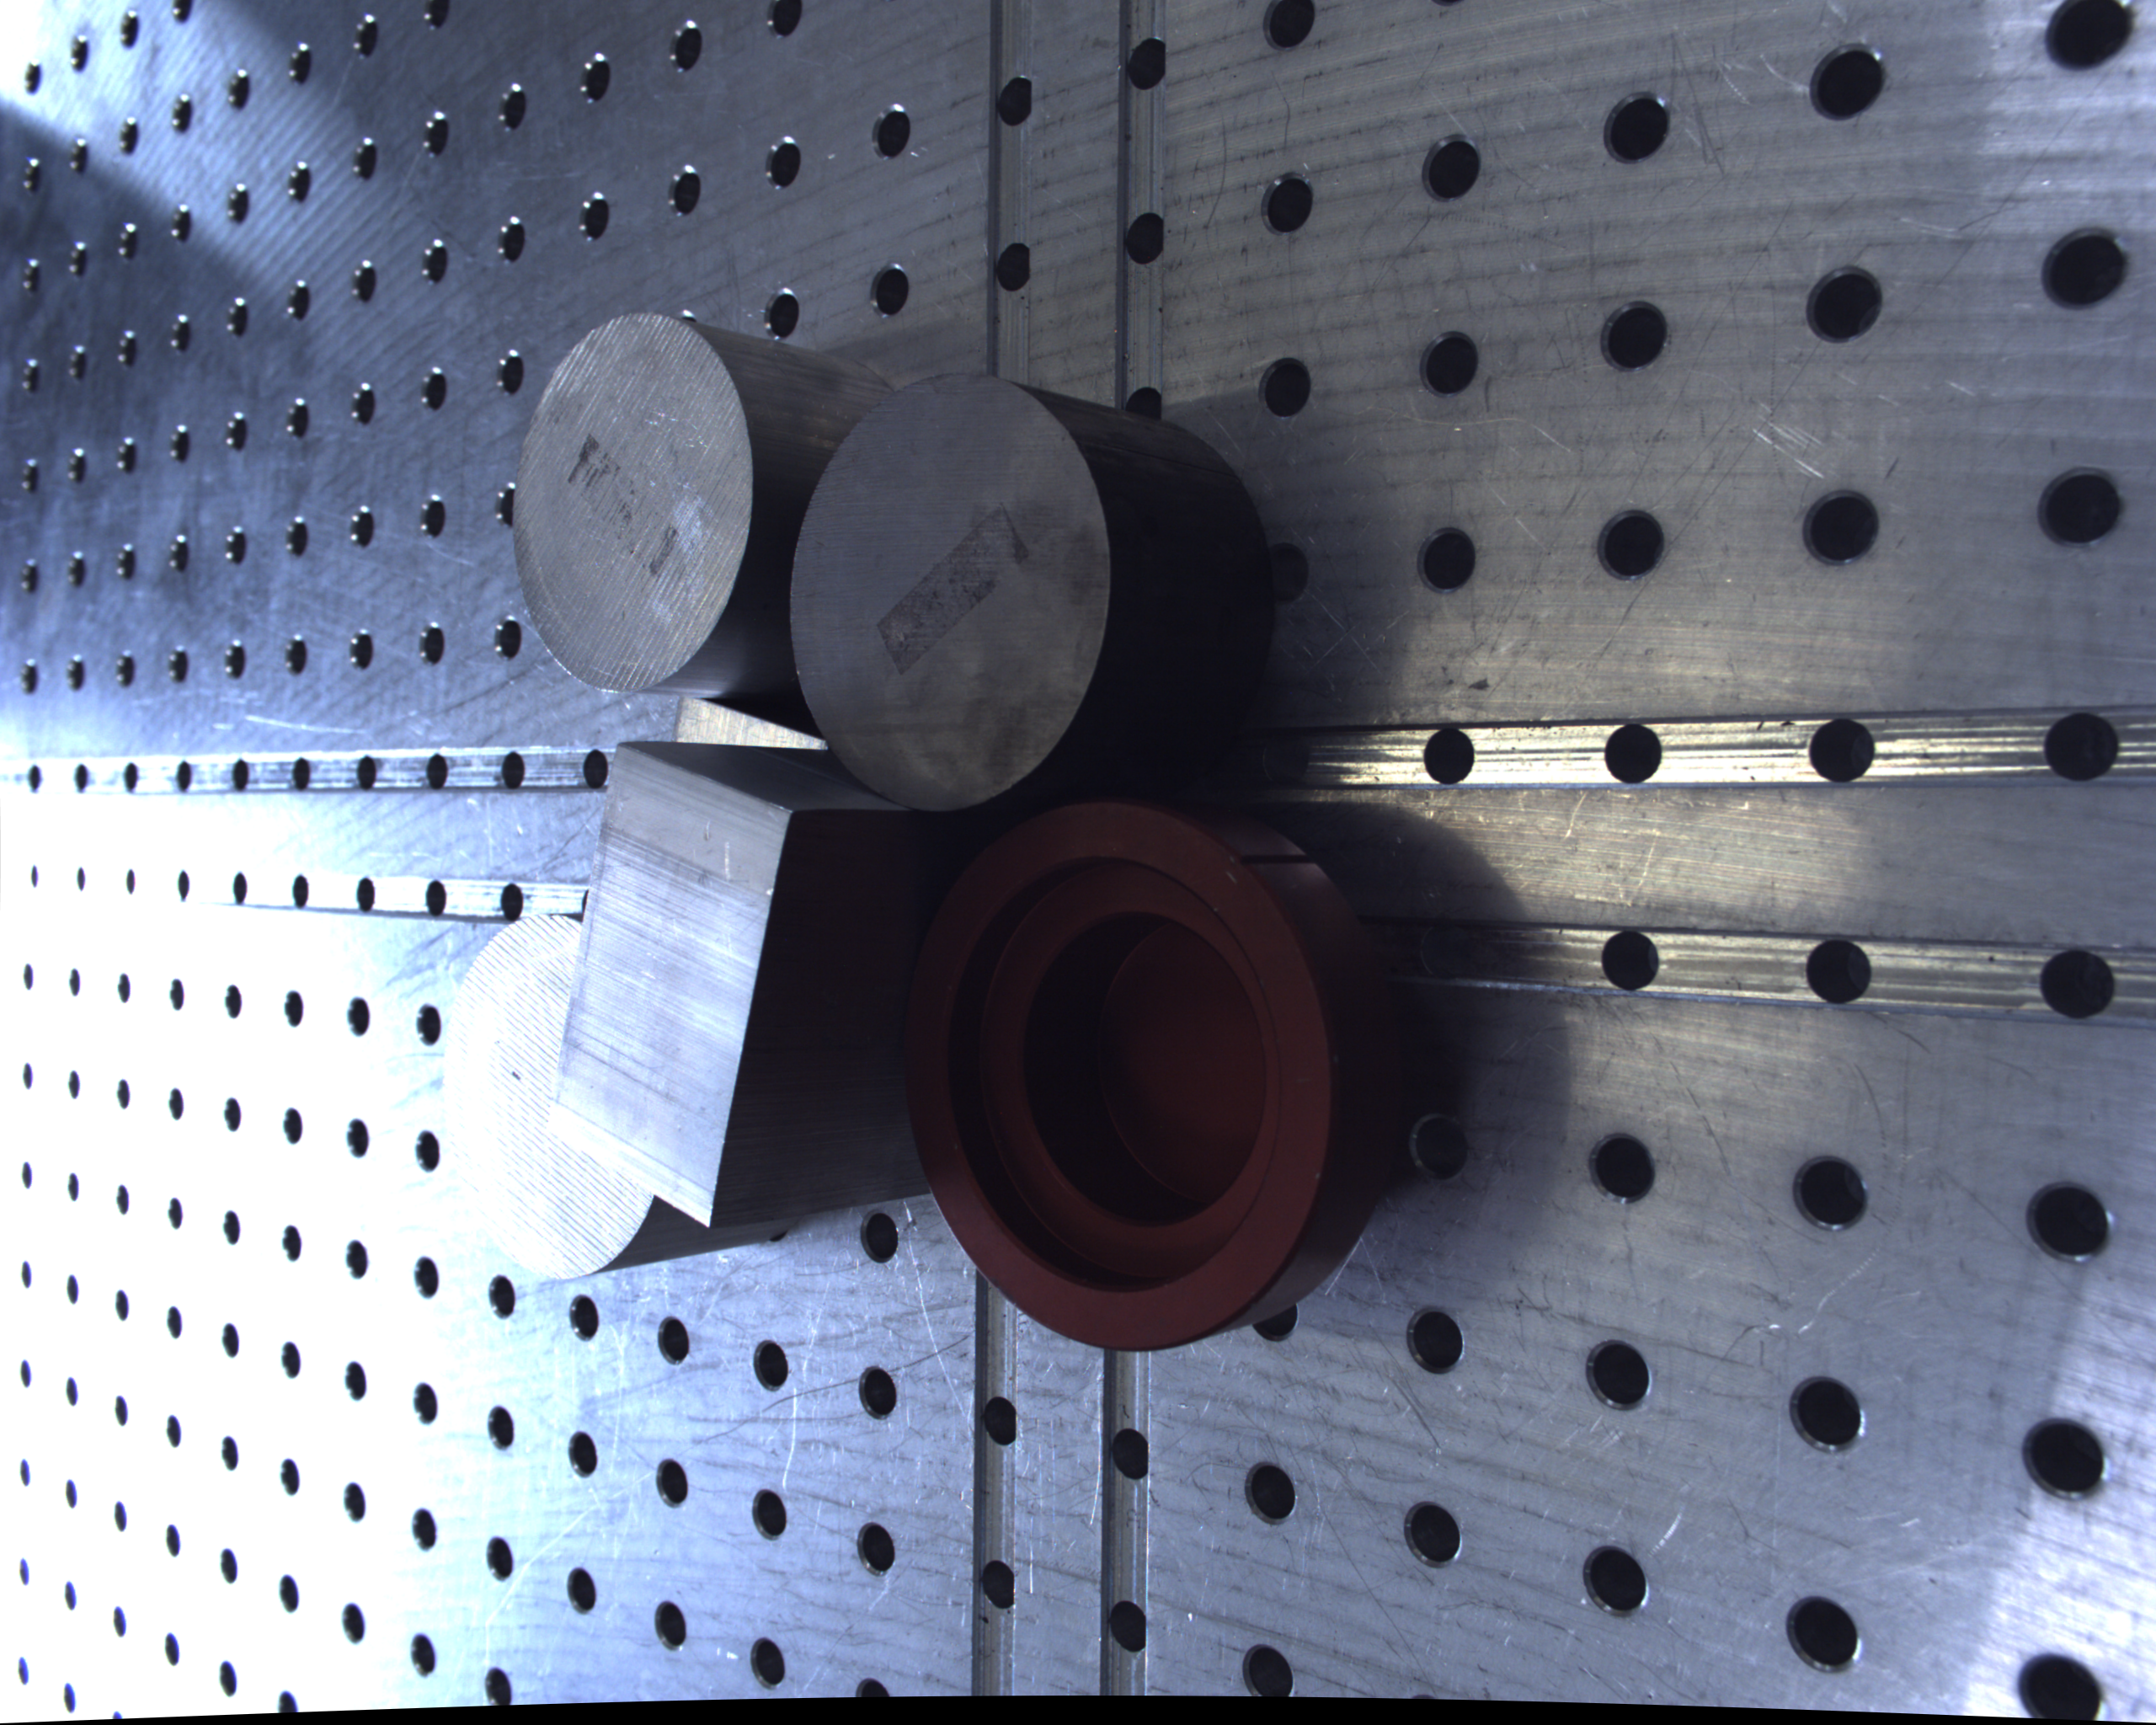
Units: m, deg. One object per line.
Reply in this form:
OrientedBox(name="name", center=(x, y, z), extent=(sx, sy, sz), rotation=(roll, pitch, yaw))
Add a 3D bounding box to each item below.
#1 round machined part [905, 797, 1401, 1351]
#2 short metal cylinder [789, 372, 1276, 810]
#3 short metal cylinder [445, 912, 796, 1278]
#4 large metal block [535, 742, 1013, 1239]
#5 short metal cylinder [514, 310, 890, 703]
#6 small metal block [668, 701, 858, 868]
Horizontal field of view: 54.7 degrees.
OrientedBox(name="round machined part", center=(0.018, 0.037, 0.384), extent=(0.098, 0.042, 0.097), rotation=(0, 90, 40))
OrientedBox(name="short metal cylinder", center=(-0.009, -0.050, 0.401), extent=(0.080, 0.050, 0.080), rotation=(0, 90, 40))
OrientedBox(name="short metal cylinder", center=(-0.099, 0.051, 0.475), extent=(0.080, 0.050, 0.080), rotation=(0, 90, 40))
OrientedBox(name="large metal block", center=(-0.053, 0.022, 0.413), extent=(0.050, 0.081, 0.079), rotation=(20, 103, 38))
OrientedBox(name="short metal cylinder", center=(-0.079, -0.076, 0.458), extent=(0.080, 0.050, 0.080), rotation=(0, 90, 40))
OrientedBox(name="small metal block", center=(-0.068, -0.008, 0.465), extent=(0.050, 0.025, 0.050), rotation=(19, 102, 38))
